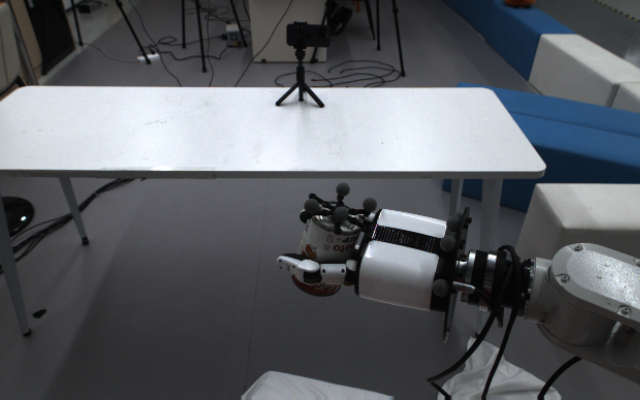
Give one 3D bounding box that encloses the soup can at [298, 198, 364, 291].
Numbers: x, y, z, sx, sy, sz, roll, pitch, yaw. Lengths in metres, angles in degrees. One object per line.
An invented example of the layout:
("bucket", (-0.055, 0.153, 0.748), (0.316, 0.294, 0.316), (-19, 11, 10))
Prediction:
("soup can", (0.009, 0.061, 0.603), (0.067, 0.101, 0.067), (13, 30, -8))
